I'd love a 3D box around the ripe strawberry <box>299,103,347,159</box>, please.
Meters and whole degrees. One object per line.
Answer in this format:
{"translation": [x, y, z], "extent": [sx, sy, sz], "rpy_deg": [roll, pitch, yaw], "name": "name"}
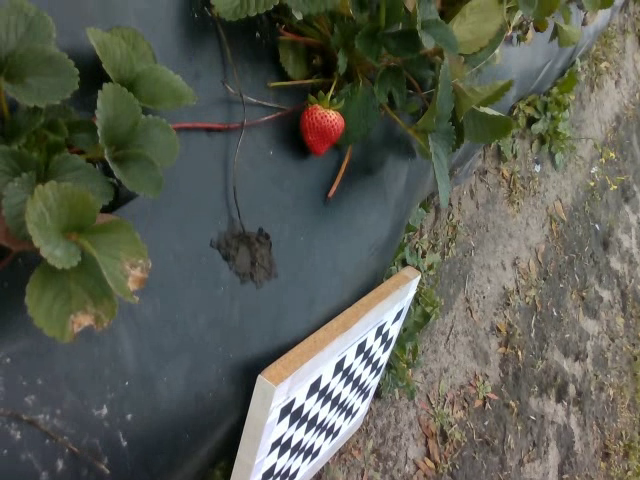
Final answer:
{"translation": [0.004, -0.119, 0.645], "extent": [0.049, 0.065, 0.061], "rpy_deg": [23, 19, 24], "name": "ripe strawberry"}
